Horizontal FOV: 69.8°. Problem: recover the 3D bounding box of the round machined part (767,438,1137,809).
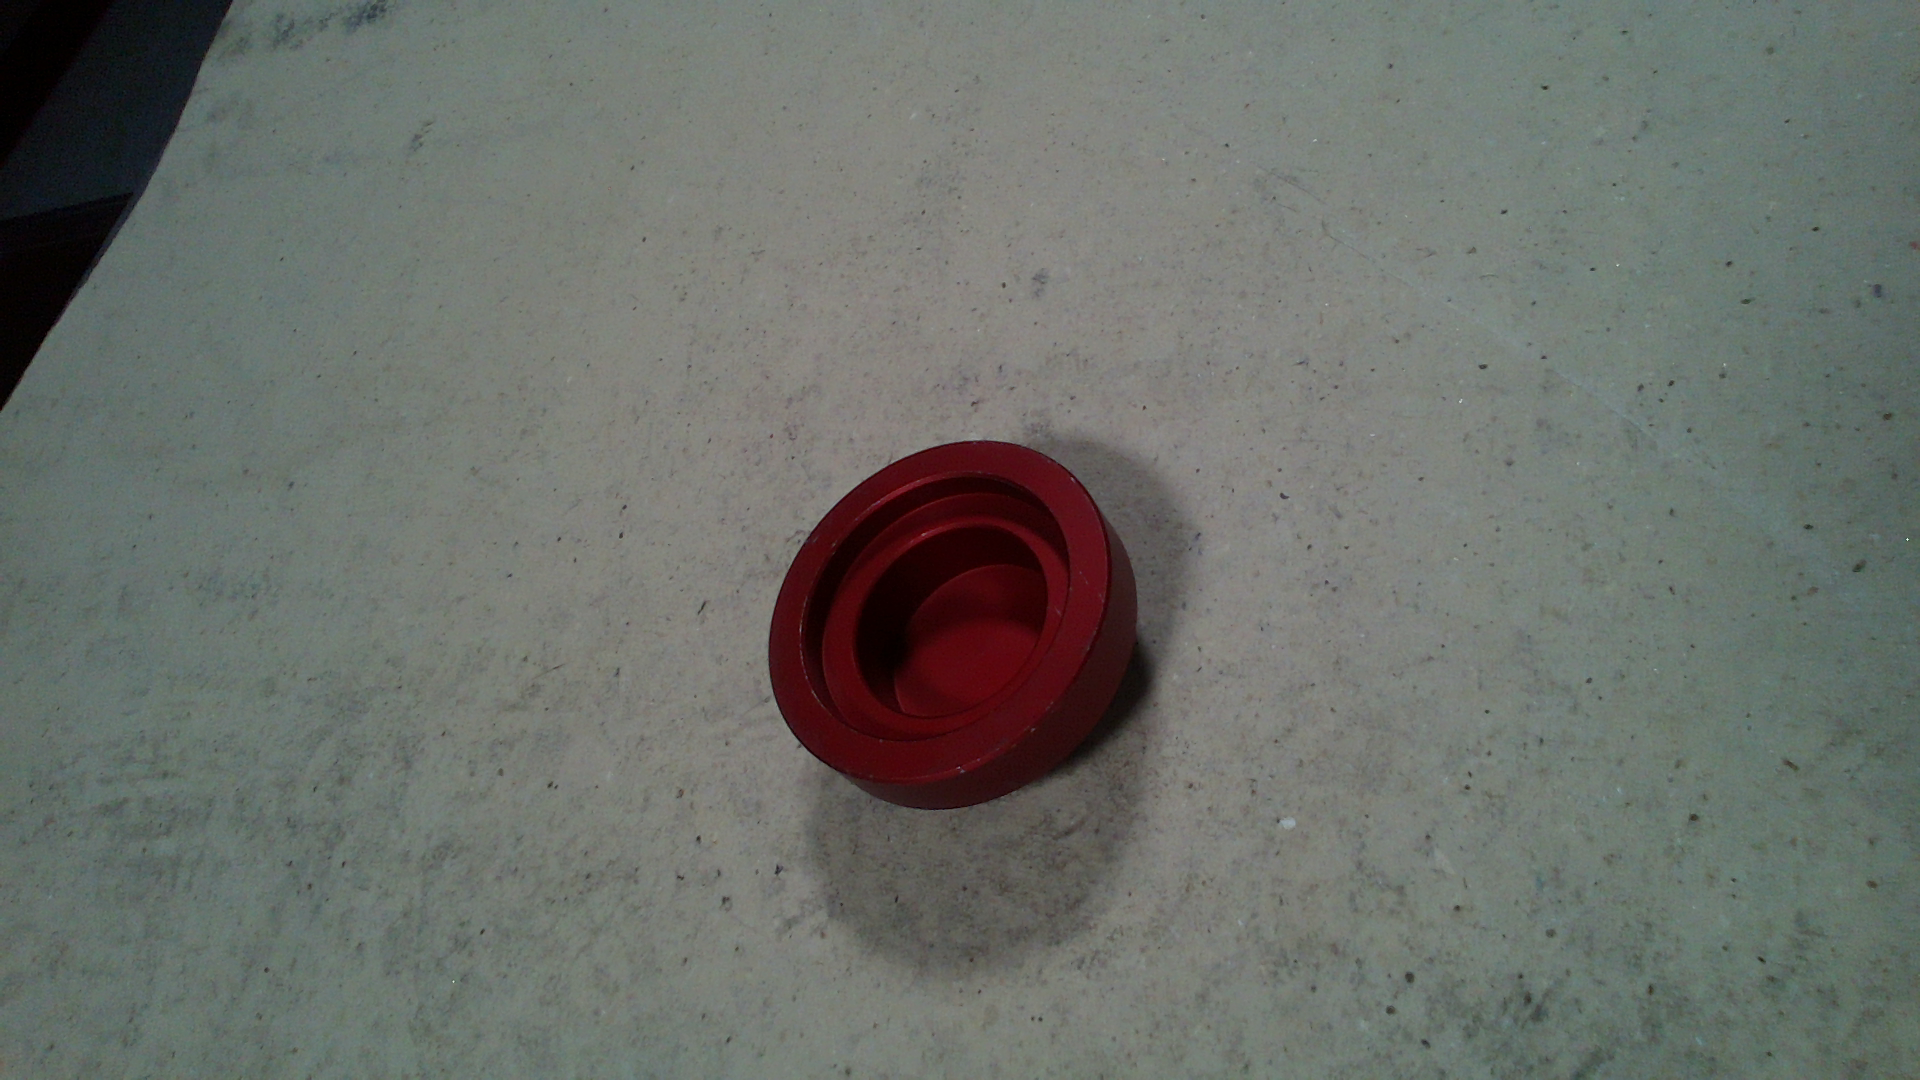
[{"bbox_3d":[0.001,0.025,0.367,0.098,0.042,0.098,-13,56,21],"label":"round machined part"}]
